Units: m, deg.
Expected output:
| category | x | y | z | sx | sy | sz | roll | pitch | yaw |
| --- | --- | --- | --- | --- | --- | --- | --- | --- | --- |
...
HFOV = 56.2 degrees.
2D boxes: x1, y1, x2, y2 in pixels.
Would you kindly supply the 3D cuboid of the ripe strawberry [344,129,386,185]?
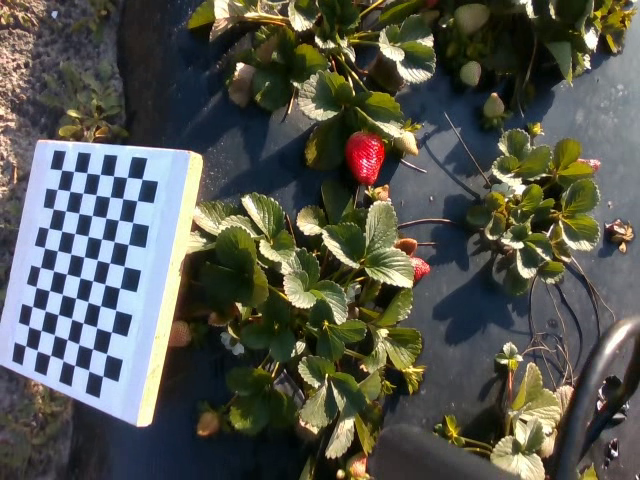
| category | x | y | z | sx | sy | sz | roll | pitch | yaw |
| --- | --- | --- | --- | --- | --- | --- | --- | --- | --- |
| ripe strawberry | 0.051 | -0.090 | 0.676 | 0.056 | 0.072 | 0.055 | -18 | -26 | 30 |
